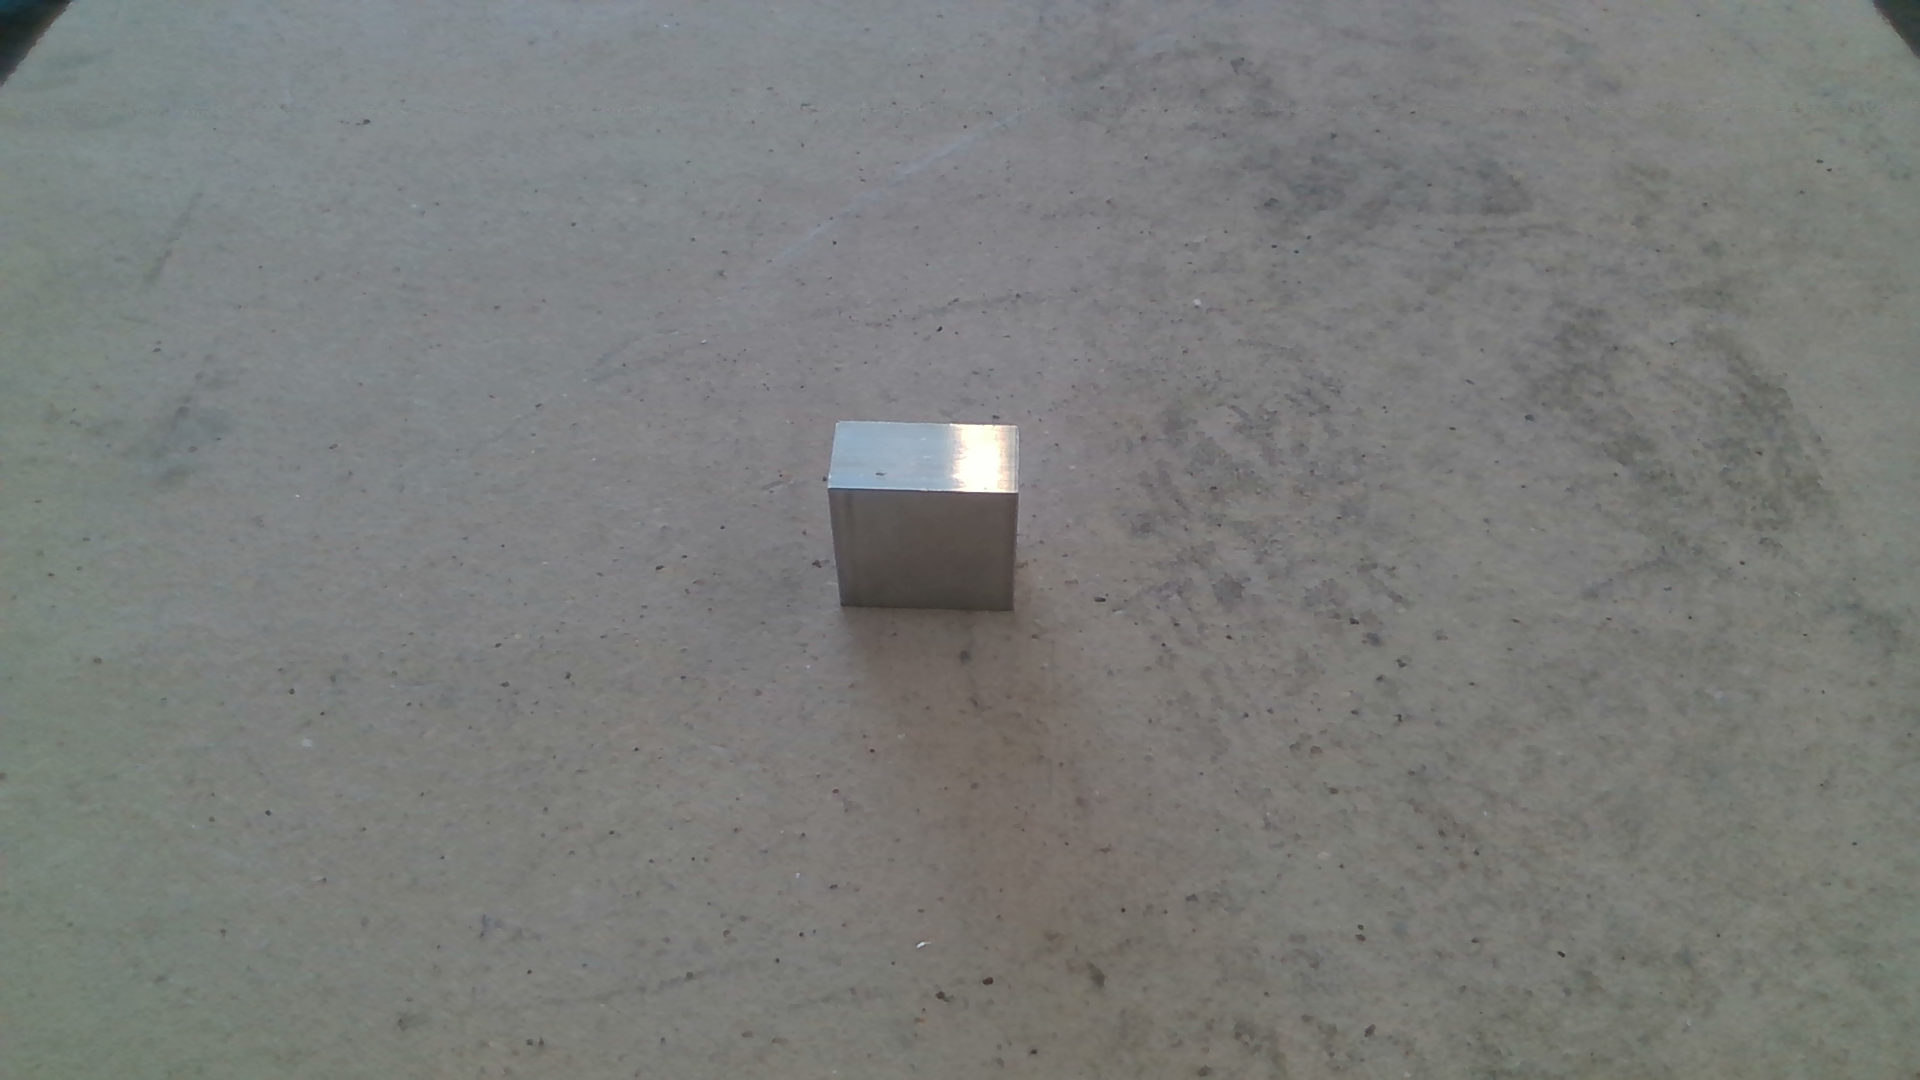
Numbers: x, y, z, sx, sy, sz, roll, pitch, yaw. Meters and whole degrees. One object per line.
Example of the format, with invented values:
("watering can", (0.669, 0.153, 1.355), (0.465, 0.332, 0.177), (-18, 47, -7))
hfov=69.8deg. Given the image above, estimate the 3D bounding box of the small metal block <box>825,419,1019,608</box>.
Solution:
("small metal block", (-0.009, -0.007, 0.383), (0.050, 0.050, 0.025), (1, 51, 1))
